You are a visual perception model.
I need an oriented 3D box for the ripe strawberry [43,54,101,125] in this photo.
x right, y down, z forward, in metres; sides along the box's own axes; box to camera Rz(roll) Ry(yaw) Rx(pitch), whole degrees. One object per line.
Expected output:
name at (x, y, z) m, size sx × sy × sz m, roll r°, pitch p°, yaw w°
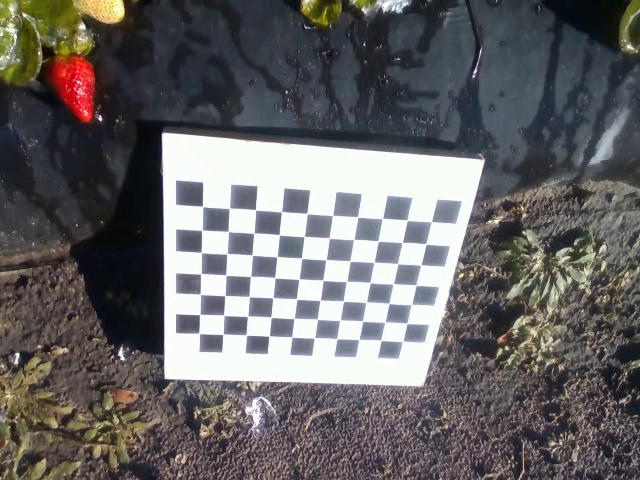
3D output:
ripe strawberry at (-0.196, -0.115, 0.462) m, size 0.042 × 0.052 × 0.040 m, roll -13°, pitch 22°, yaw -1°
